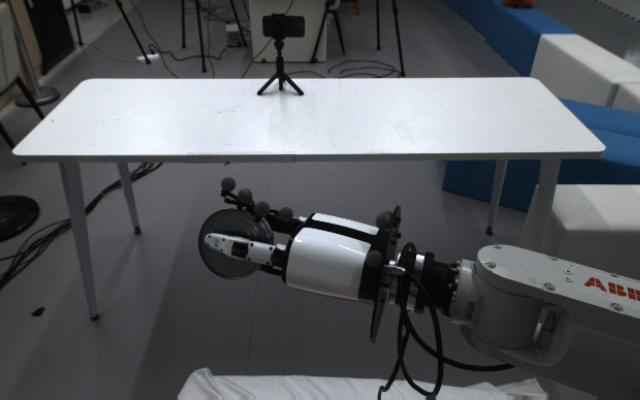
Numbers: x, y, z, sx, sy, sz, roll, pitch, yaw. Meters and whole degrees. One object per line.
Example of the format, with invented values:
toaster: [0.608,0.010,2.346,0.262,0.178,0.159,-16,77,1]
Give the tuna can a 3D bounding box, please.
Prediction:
tuna can: [-0.099,0.051,0.586,0.085,0.085,0.034,10,4,11]
